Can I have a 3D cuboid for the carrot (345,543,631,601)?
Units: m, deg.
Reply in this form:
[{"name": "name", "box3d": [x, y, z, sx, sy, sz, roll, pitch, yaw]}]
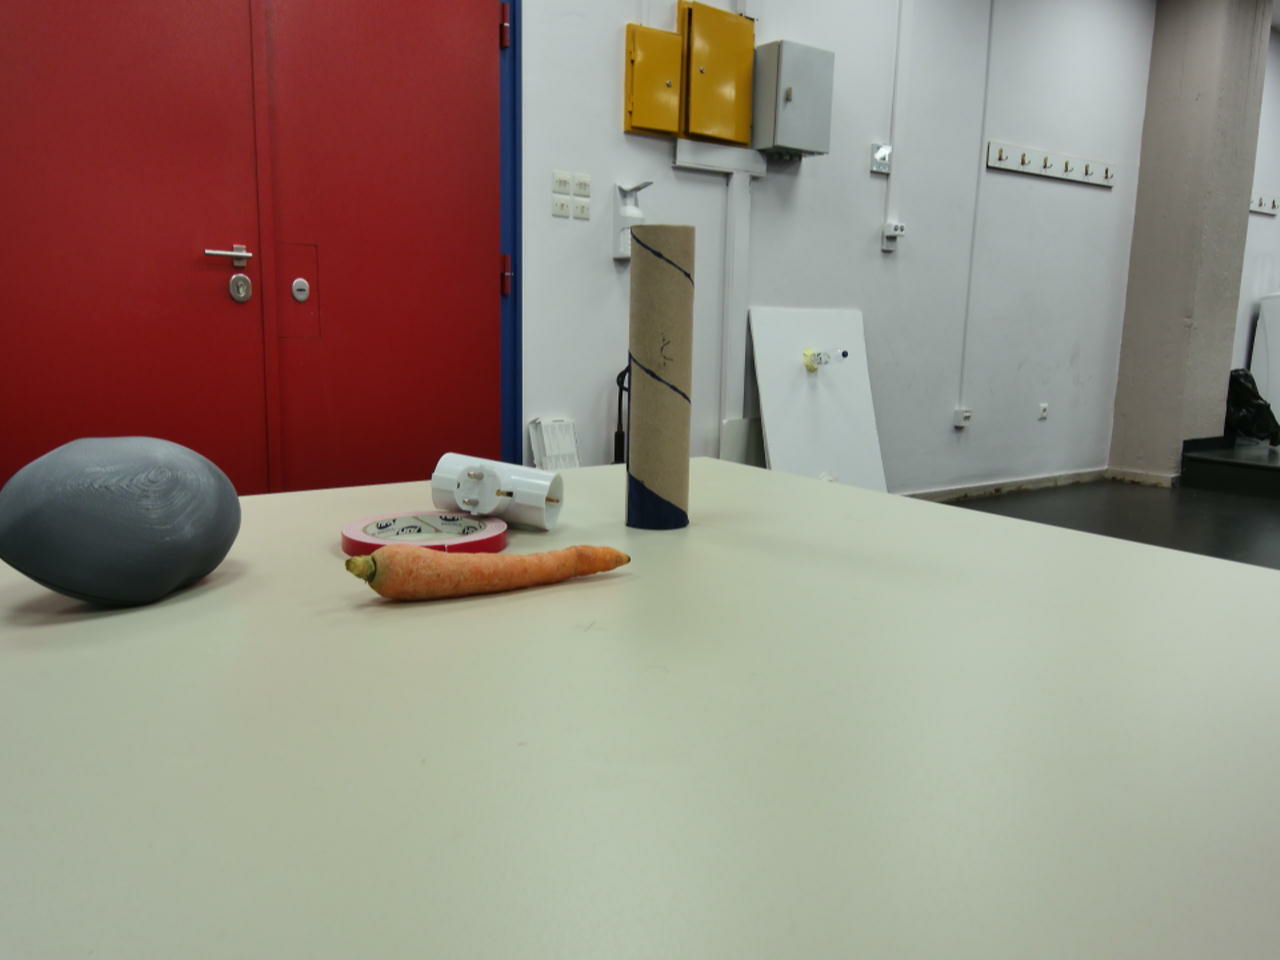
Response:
[{"name": "carrot", "box3d": [-0.080, 0.048, 0.572, 0.173, 0.032, 0.030, -3, 8, -27]}]
